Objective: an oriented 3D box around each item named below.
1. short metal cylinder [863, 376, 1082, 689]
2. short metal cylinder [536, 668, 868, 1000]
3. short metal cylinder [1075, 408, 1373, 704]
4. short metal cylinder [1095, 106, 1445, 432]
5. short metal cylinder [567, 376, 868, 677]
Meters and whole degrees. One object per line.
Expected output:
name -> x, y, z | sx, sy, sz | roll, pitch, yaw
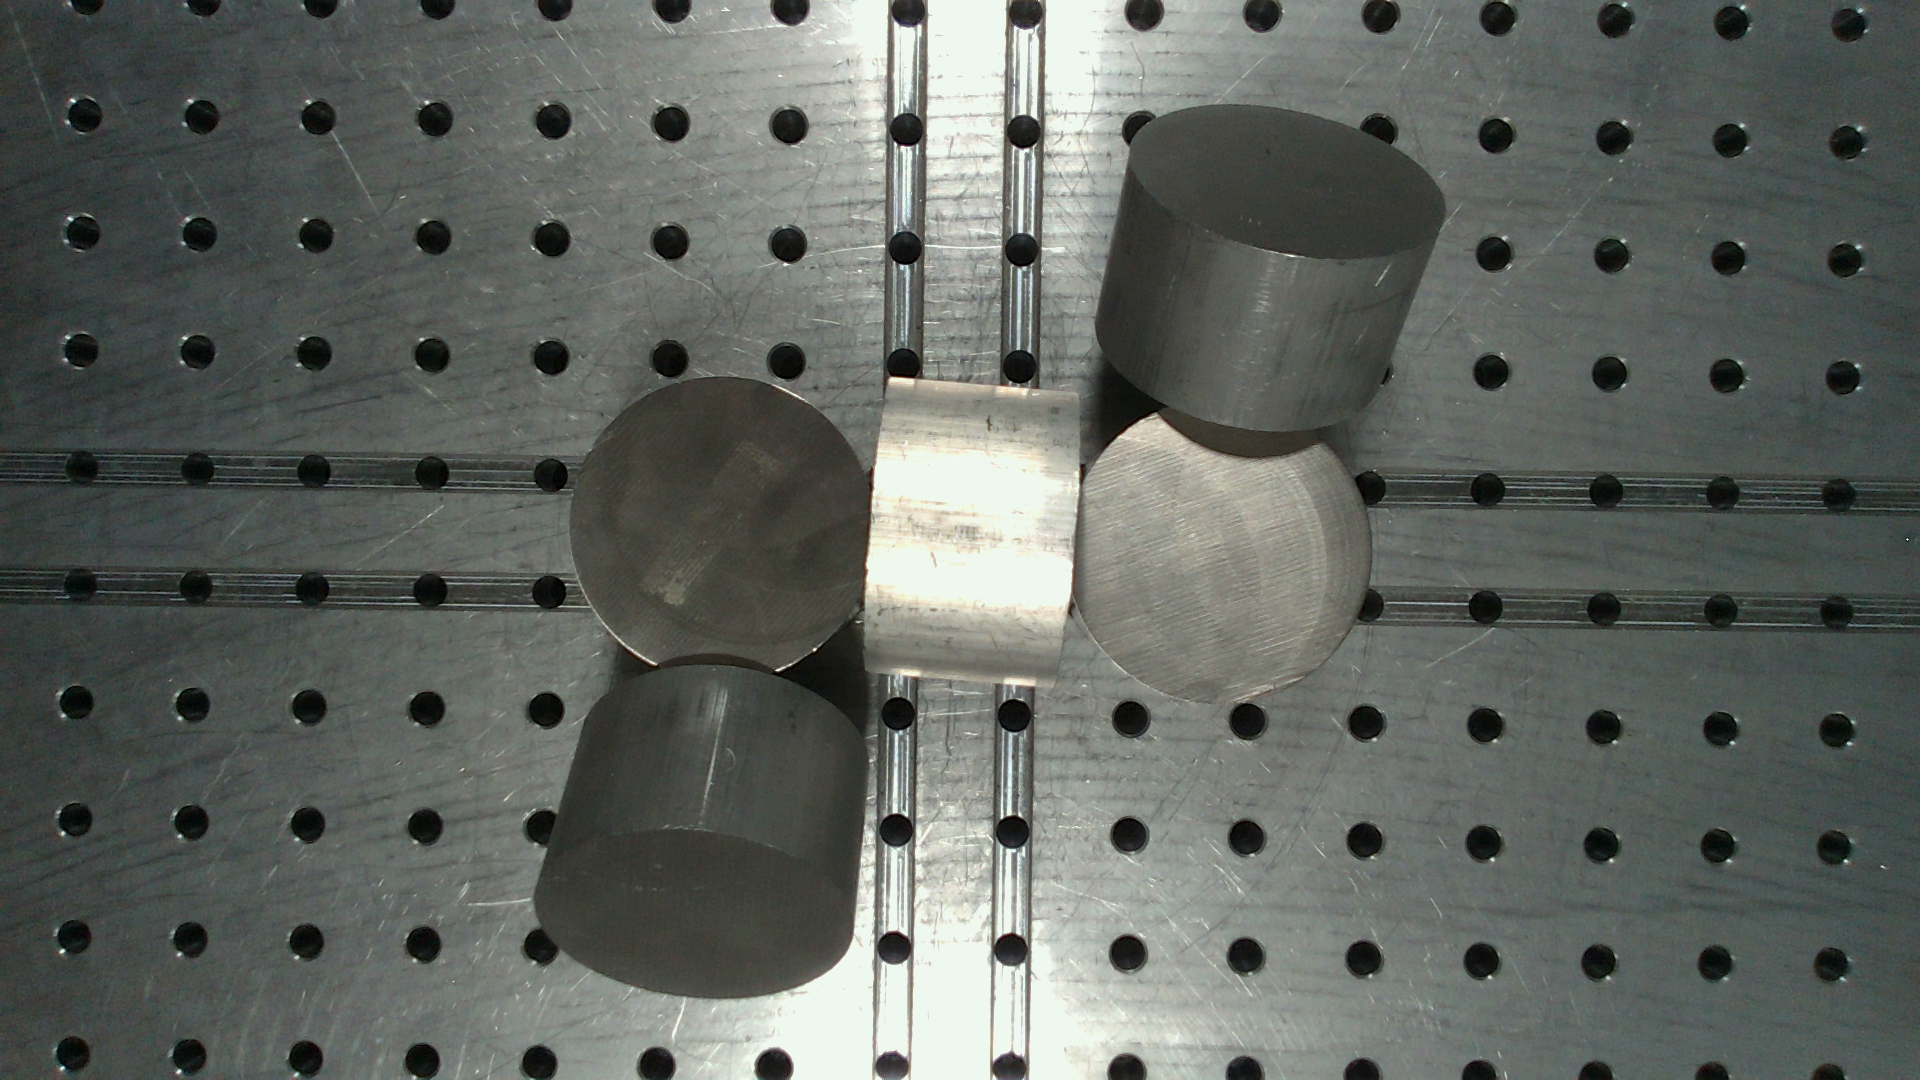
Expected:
short metal cylinder -> 0.003, -0.002, 0.370 | 0.050, 0.080, 0.080 | 5, 90, 0
short metal cylinder -> -0.065, 0.079, 0.365 | 0.080, 0.050, 0.080 | 1, 134, 1
short metal cylinder -> 0.068, 0.003, 0.385 | 0.080, 0.050, 0.080 | 0, 90, 0
short metal cylinder -> 0.080, -0.073, 0.363 | 0.080, 0.080, 0.050 | 9, 132, 0
short metal cylinder -> -0.062, -0.003, 0.384 | 0.080, 0.050, 0.080 | 0, 90, 0
